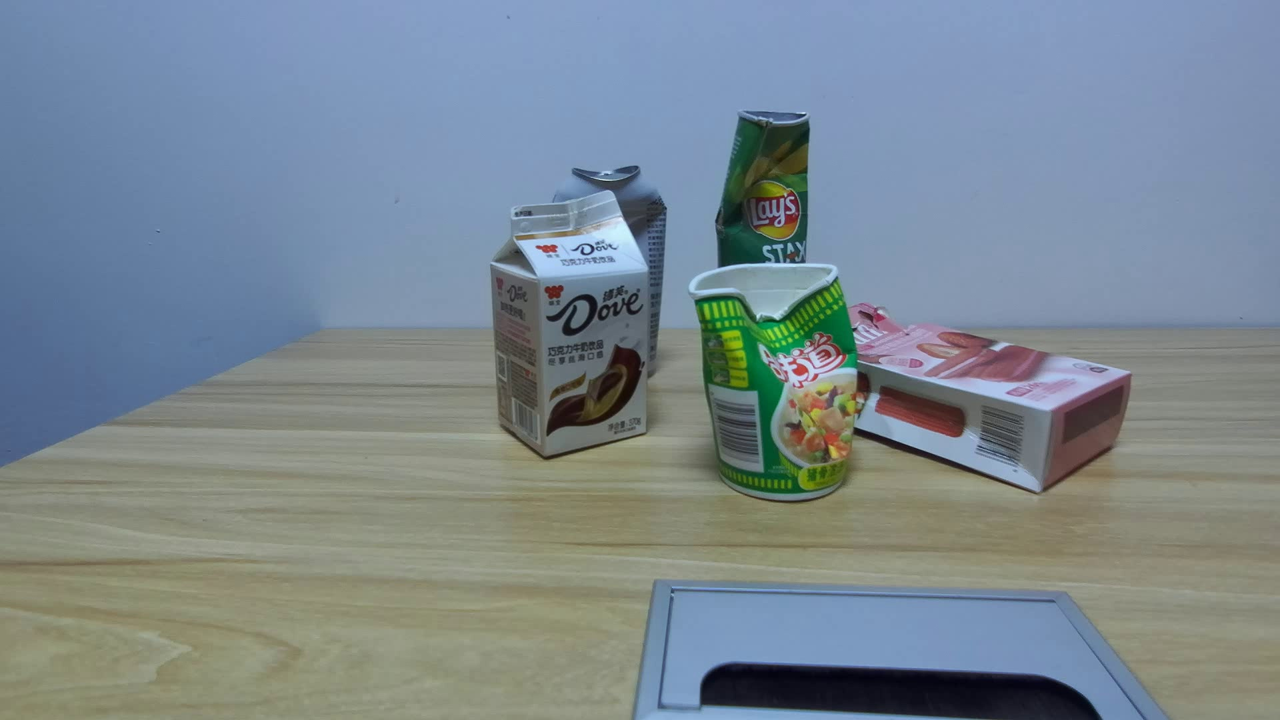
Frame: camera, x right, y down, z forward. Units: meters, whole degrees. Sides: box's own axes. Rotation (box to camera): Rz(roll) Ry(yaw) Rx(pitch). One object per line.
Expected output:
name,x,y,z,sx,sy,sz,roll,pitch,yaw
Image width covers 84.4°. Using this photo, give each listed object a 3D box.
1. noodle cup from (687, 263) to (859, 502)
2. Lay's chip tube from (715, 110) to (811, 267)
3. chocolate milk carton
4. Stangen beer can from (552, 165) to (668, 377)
noodle cup,0.075,0.008,0.373,0.083,0.122,0.075,-11,9,1
Lay's chip tube,0.095,-0.087,0.544,0.069,0.201,0.077,1,19,9
chocolate milk carton,-0.043,-0.026,0.438,0.076,0.148,0.073,-10,19,-31
Stangen beer can,-0.022,-0.069,0.558,0.065,0.162,0.077,15,26,37
